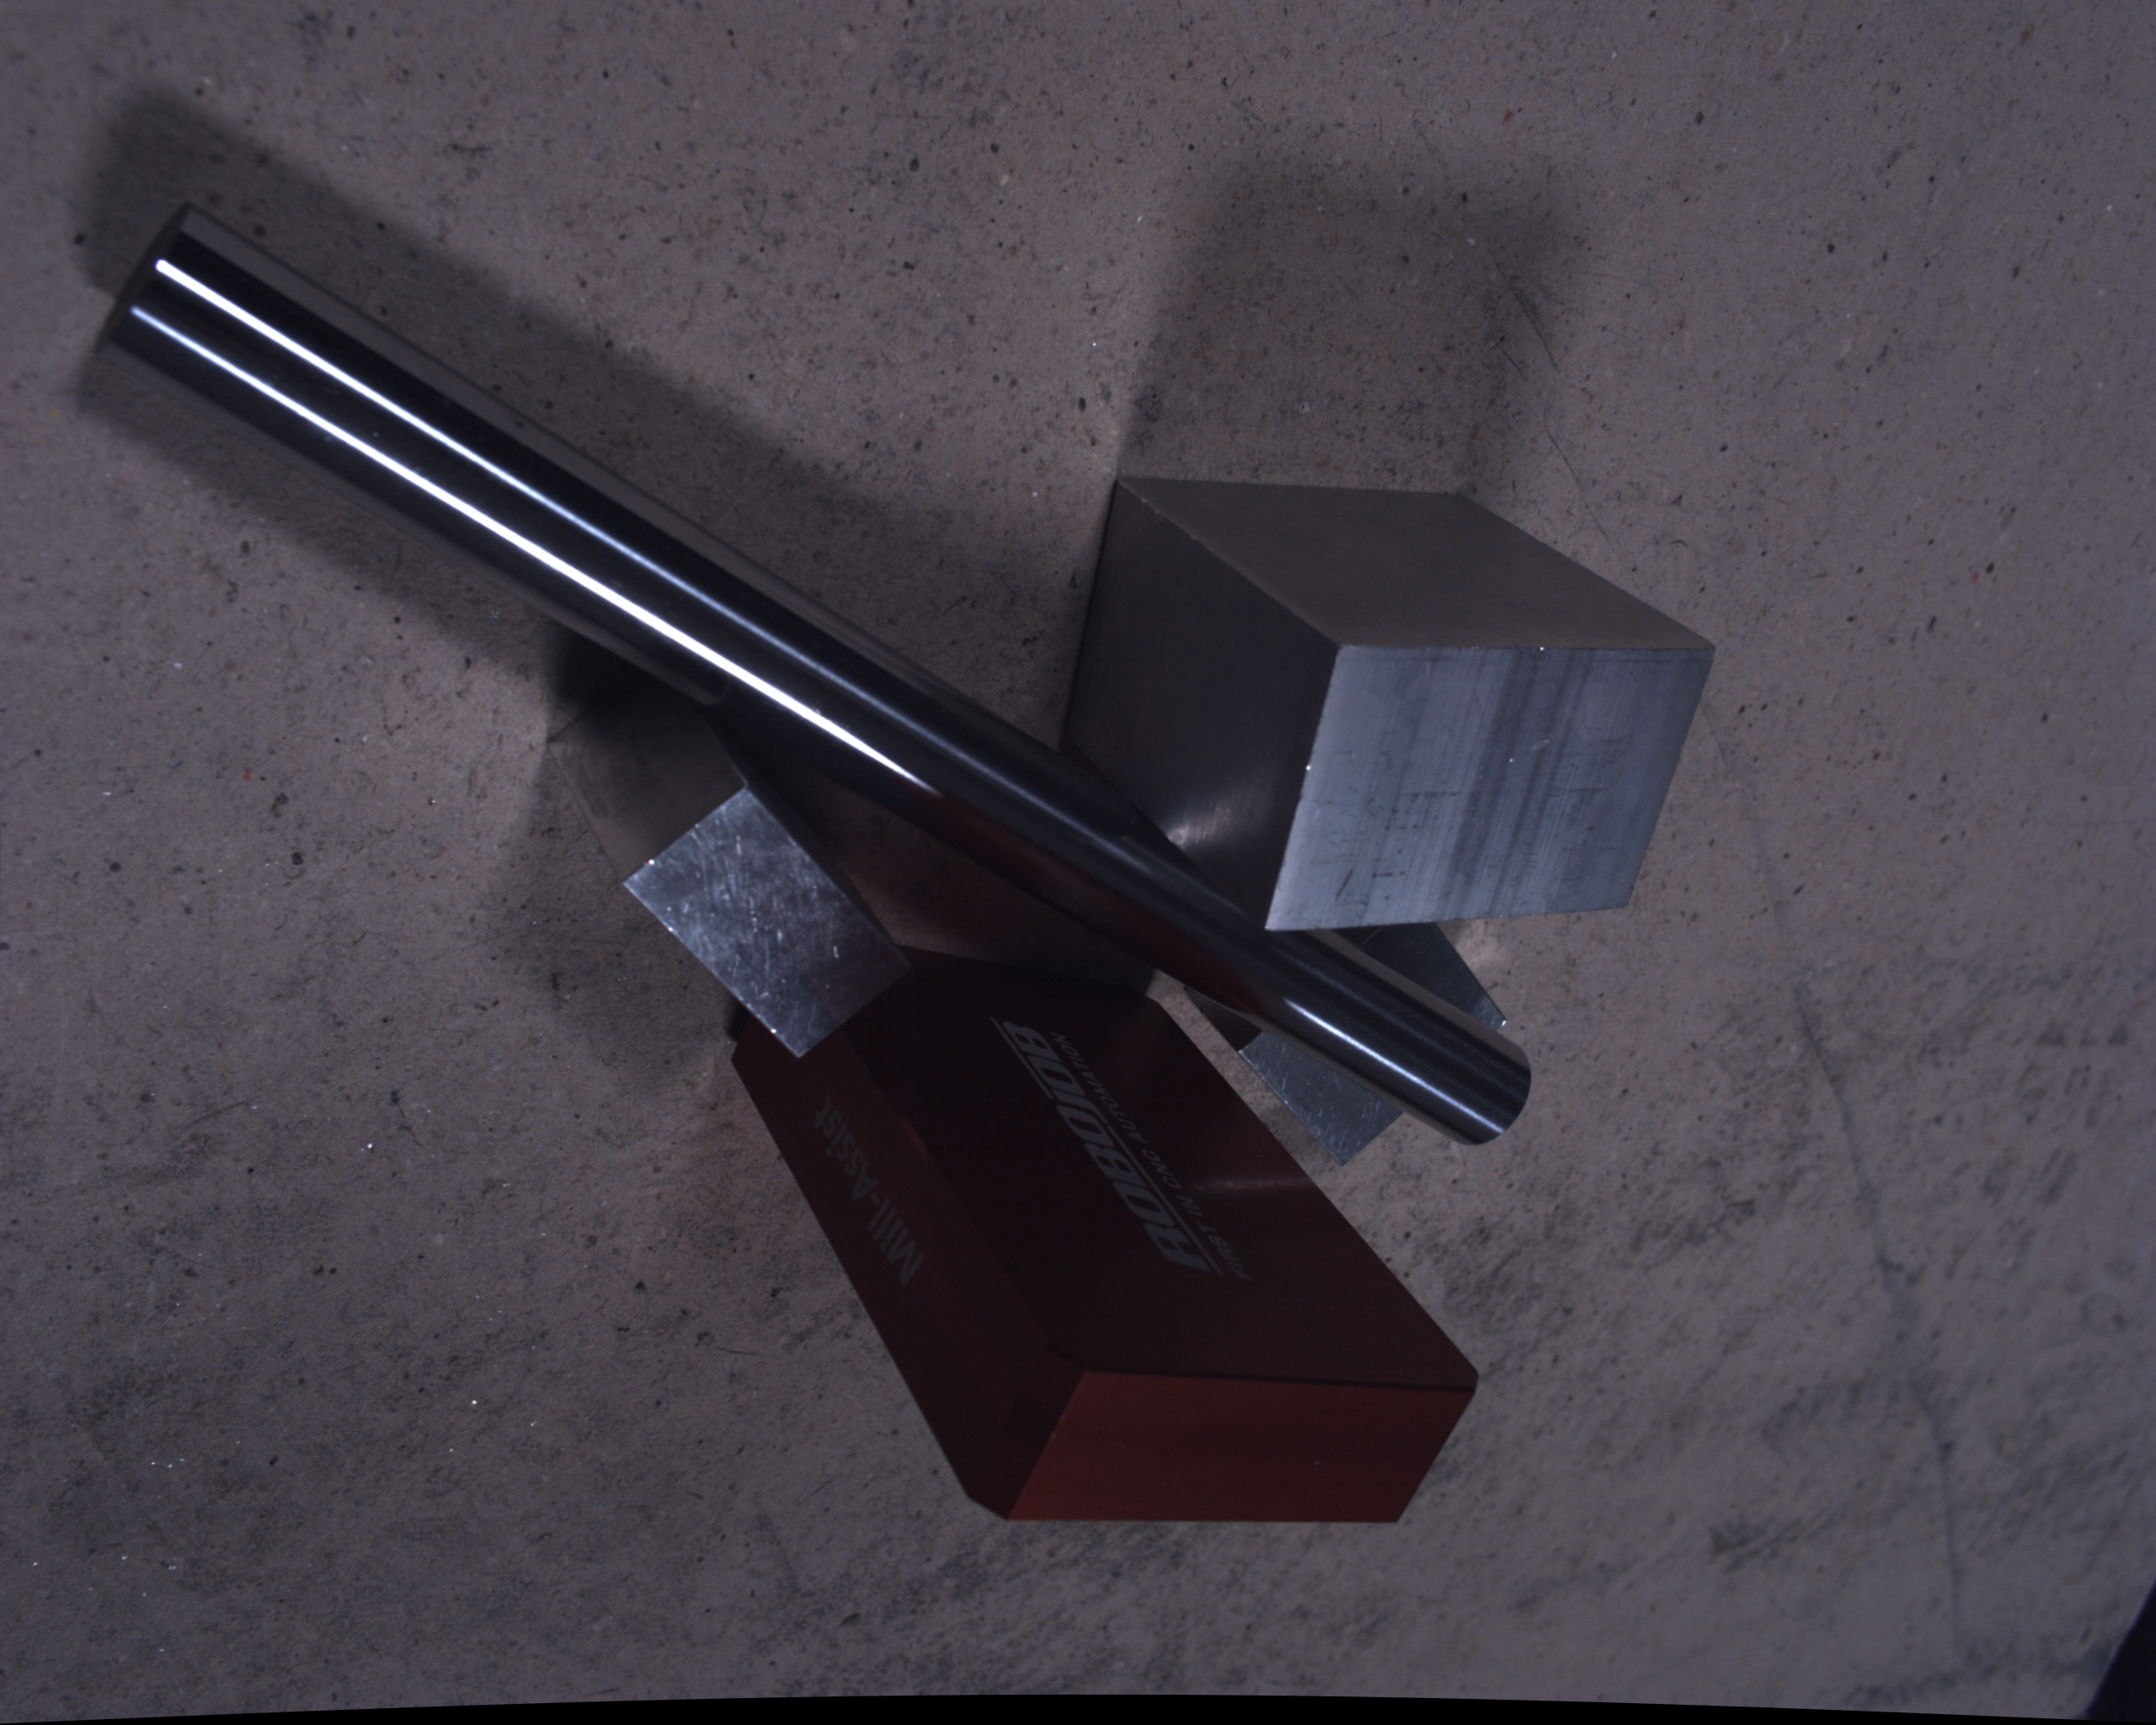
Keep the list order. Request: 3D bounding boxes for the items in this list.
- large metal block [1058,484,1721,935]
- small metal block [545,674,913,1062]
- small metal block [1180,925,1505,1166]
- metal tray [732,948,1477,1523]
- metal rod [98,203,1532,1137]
[{"bbox_3d":[0.054,-0.030,0.384,0.081,0.080,0.050,-2,120,-28],"label":"large metal block"},{"bbox_3d":[-0.060,-0.001,0.359,0.025,0.050,0.050,-39,130,-2],"label":"small metal block"},{"bbox_3d":[0.059,0.032,0.463,0.050,0.025,0.050,-41,130,0],"label":"small metal block"},{"bbox_3d":[0.000,0.063,0.381,0.091,0.130,0.030,13,112,-34],"label":"metal tray"},{"bbox_3d":[-0.020,-0.016,0.371,0.301,0.025,0.025,31,101,-33],"label":"metal rod"}]
